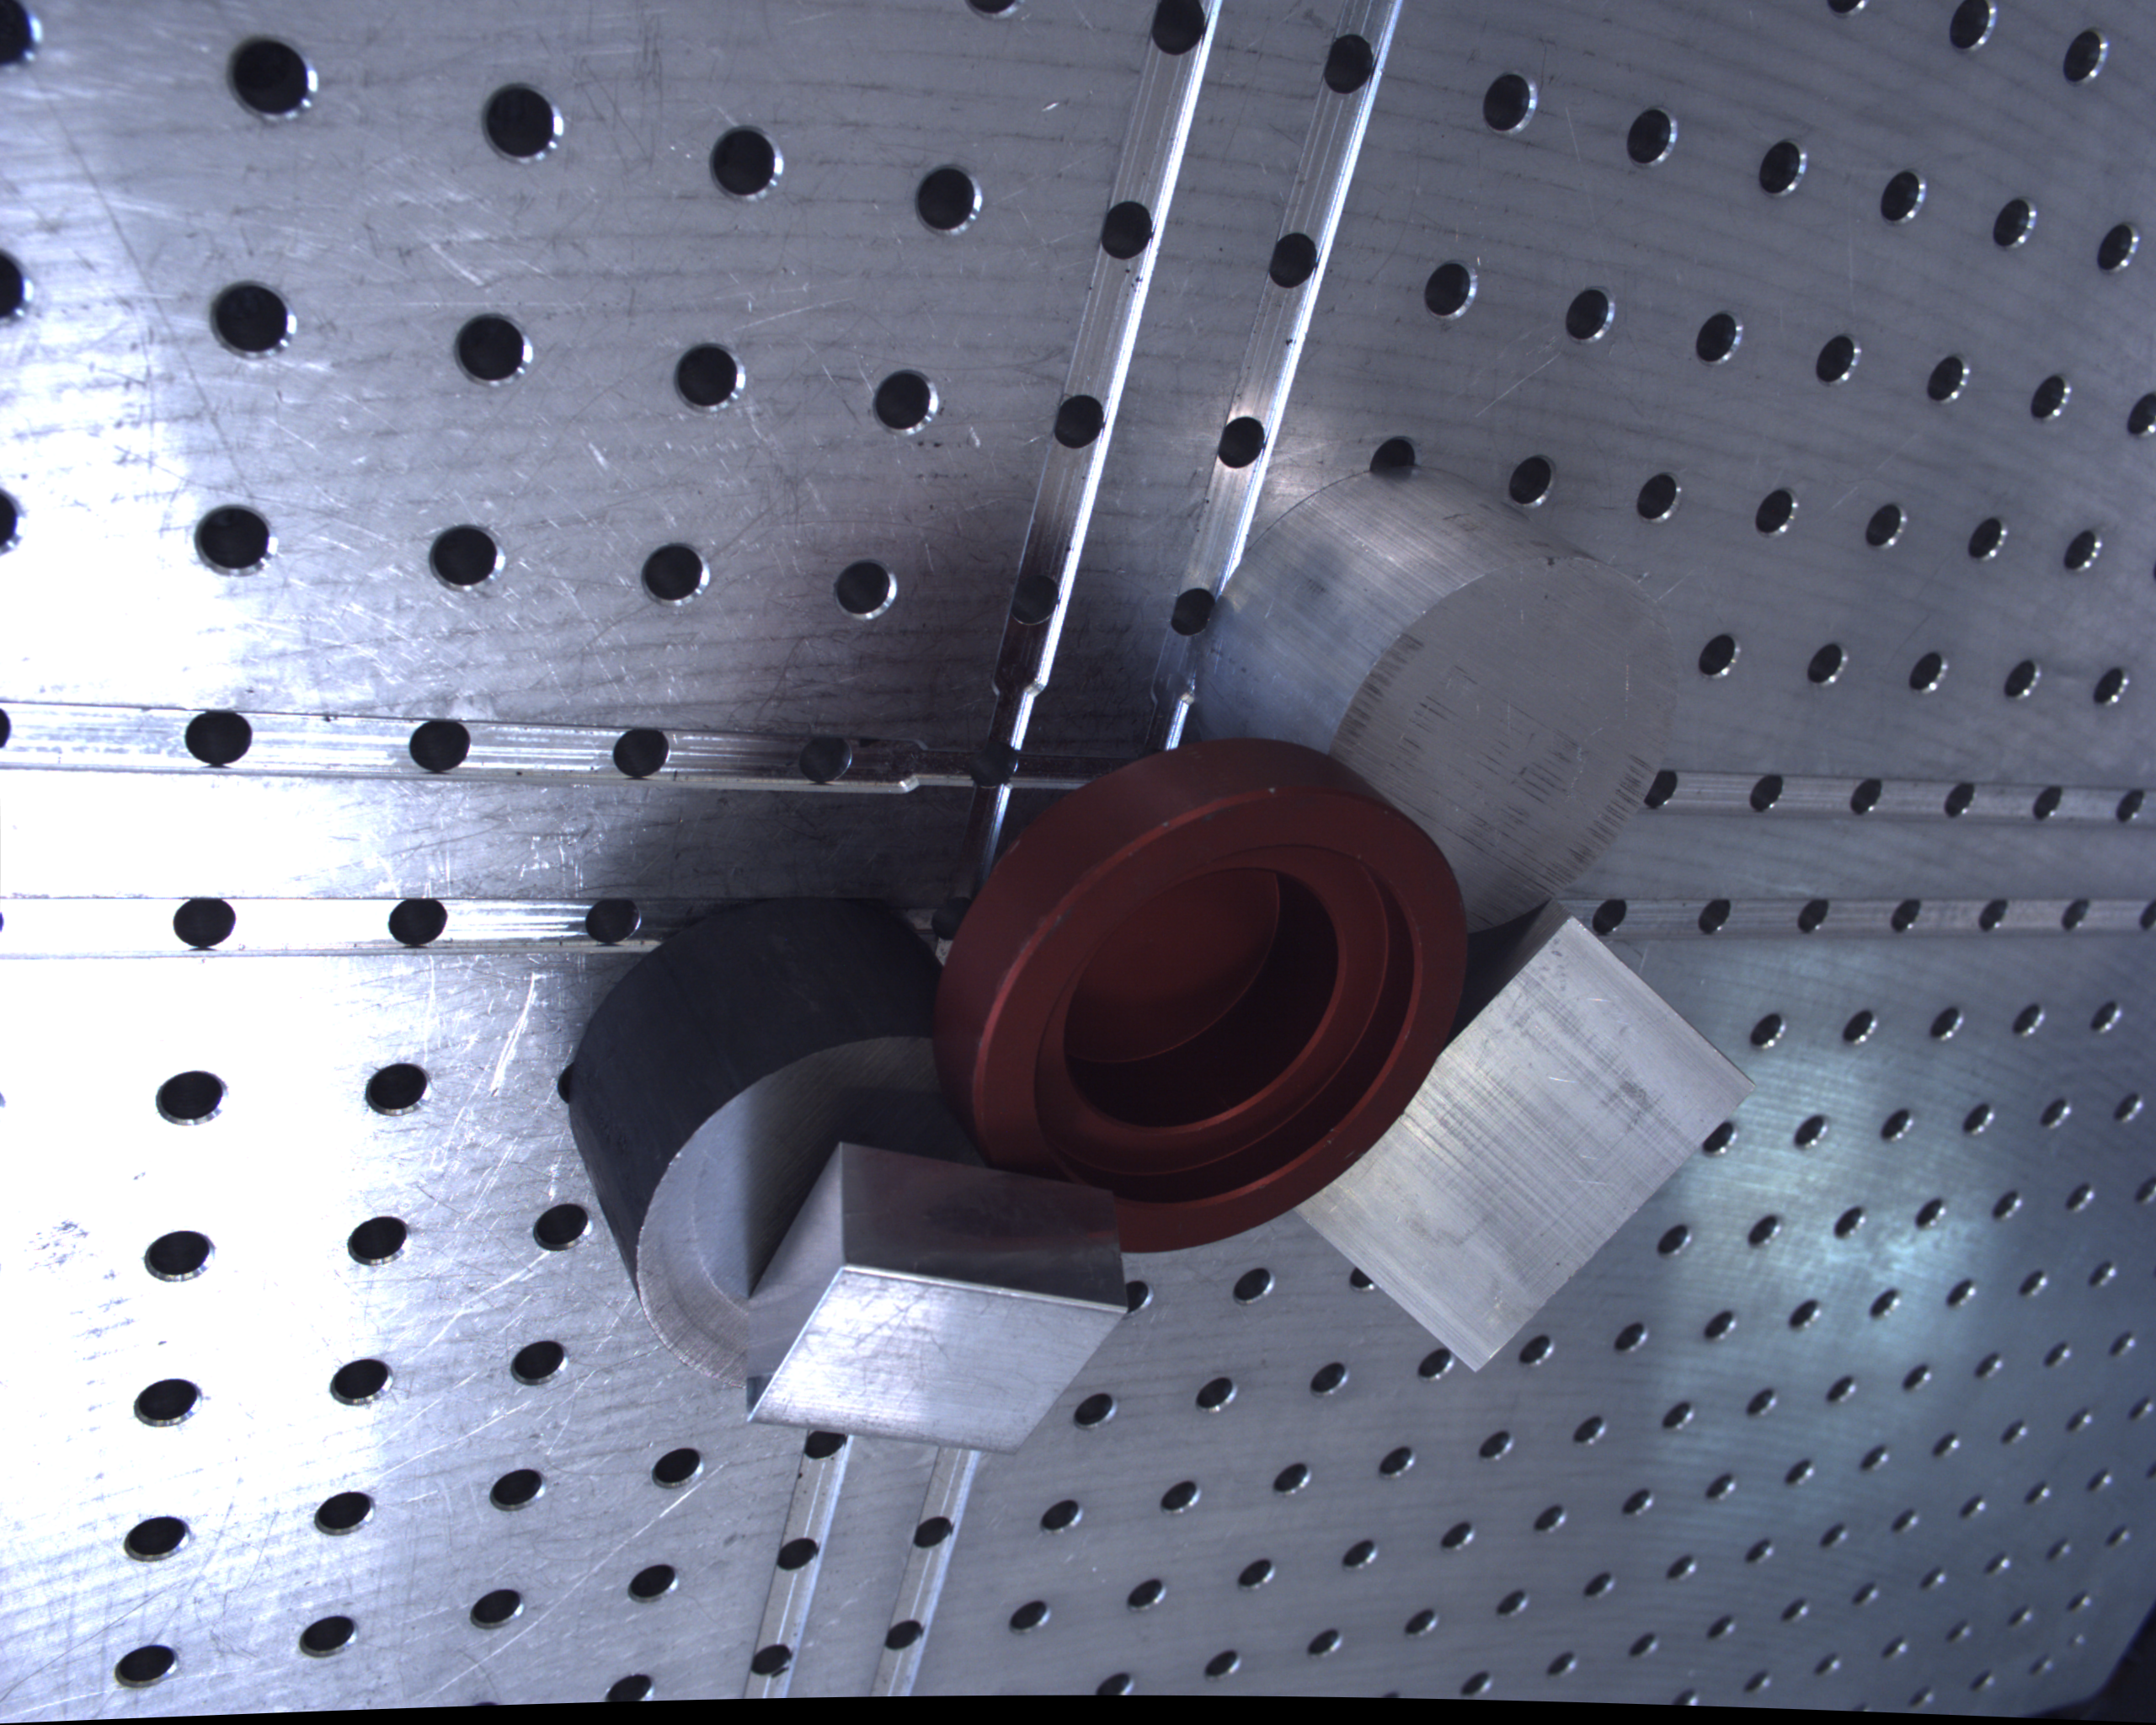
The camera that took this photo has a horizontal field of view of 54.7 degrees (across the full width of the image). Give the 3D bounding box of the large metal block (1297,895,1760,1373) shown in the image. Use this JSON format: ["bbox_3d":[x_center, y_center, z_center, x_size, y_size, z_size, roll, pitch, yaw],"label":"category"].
[{"bbox_3d":[0.086,0.050,0.445,0.050,0.080,0.080,43,95,-5],"label":"large metal block"}]

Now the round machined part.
[{"bbox_3d":[0.019,0.020,0.385,0.099,0.042,0.097,-14,124,-21],"label":"round machined part"}]

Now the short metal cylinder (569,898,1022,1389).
[{"bbox_3d":[-0.051,0.054,0.400,0.081,0.050,0.079,-14,124,-21],"label":"short metal cylinder"}]

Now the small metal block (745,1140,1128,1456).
[{"bbox_3d":[-0.026,0.077,0.364,0.050,0.025,0.050,13,132,-21],"label":"small metal block"}]

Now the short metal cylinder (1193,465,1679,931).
[{"bbox_3d":[0.070,-0.032,0.413,0.081,0.050,0.079,-14,124,-21],"label":"short metal cylinder"}]
